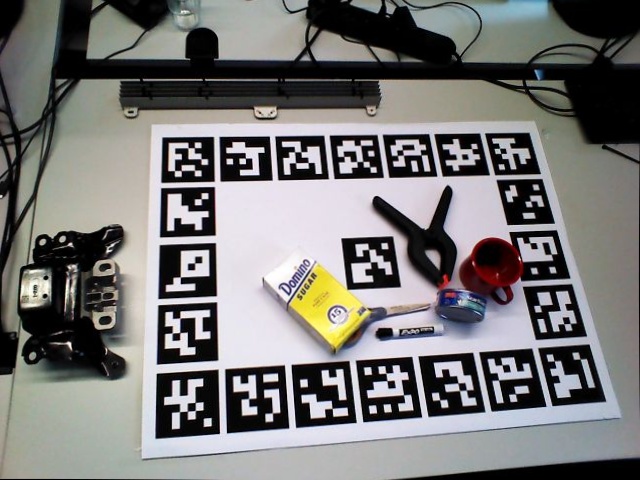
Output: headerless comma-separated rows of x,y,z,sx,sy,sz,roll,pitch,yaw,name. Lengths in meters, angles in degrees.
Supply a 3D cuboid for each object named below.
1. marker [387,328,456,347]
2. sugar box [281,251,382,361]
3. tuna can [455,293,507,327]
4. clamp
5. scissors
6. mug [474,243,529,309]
0.177,0.171,0.905,0.121,0.020,0.019,-6,70,-8,marker
0.023,0.110,0.892,0.092,0.045,0.176,-39,71,-19,sugar box
0.279,0.123,0.899,0.086,0.086,0.033,14,67,-1,tuna can
0.233,0.003,0.978,0.165,0.037,0.202,-12,72,-11,clamp
0.129,0.133,0.912,0.202,0.016,0.087,-12,67,-12,scissors
0.333,0.074,0.930,0.093,0.082,0.117,-29,71,-16,mug
